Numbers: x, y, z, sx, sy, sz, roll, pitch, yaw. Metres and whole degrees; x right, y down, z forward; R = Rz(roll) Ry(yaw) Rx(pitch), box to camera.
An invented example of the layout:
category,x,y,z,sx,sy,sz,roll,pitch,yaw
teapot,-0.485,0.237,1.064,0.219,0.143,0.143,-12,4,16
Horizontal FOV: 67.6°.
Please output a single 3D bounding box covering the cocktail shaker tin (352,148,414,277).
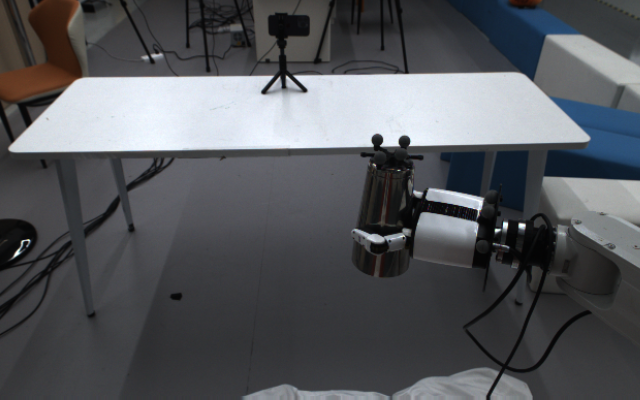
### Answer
category,x,y,z,sx,sy,sz,roll,pitch,yaw
cocktail shaker tin,0.100,0.019,0.728,0.093,0.170,0.093,2,28,-1
